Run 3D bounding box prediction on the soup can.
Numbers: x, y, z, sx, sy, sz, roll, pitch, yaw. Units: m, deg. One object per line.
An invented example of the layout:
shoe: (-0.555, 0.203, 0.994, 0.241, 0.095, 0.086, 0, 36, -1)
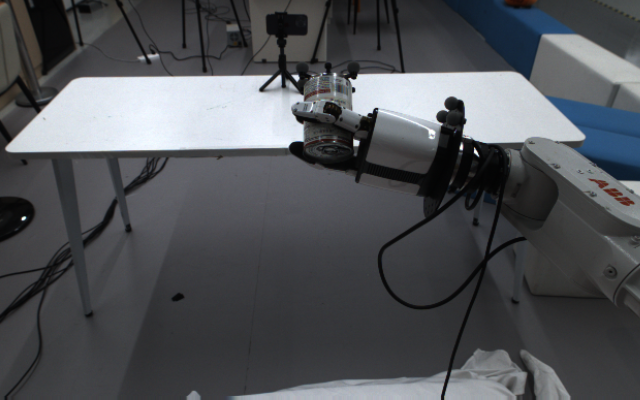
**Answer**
soup can: (0.011, -0.108, 0.644, 0.067, 0.067, 0.101, 1, 72, -2)
